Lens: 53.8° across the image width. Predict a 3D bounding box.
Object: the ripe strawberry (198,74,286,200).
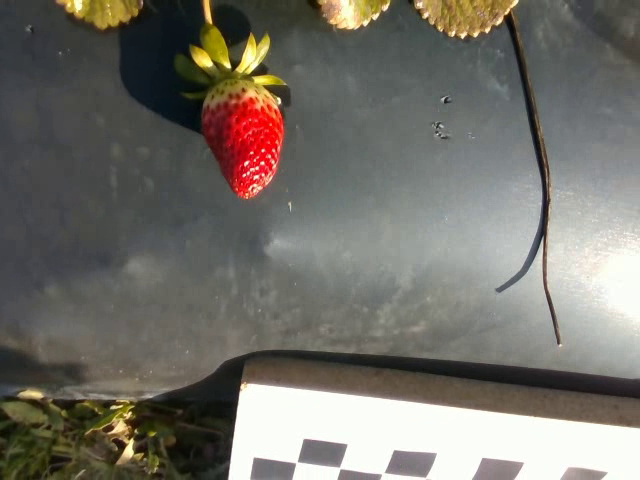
[{"bbox_3d":[-0.023,-0.028,0.186,0.028,0.041,0.031,-11,-18,12],"label":"ripe strawberry"}]
